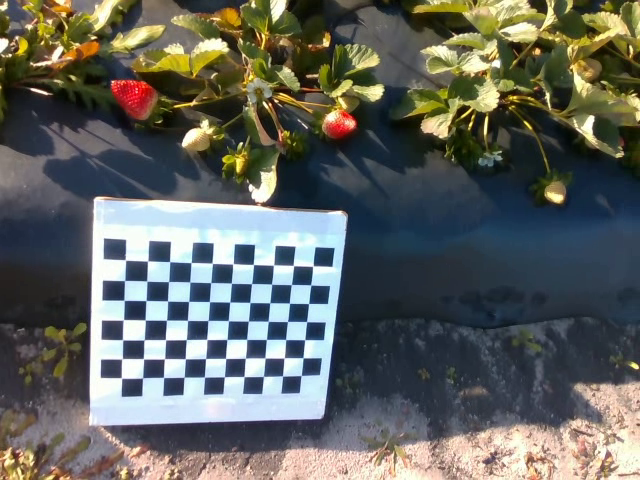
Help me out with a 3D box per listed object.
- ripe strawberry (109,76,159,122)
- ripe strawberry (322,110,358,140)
[{"bbox_3d":[-0.180,-0.140,0.696,0.053,0.043,0.036,30,8,-29],"label":"ripe strawberry"},{"bbox_3d":[0.022,-0.119,0.745,0.042,0.037,0.045,-27,25,-37],"label":"ripe strawberry"}]
